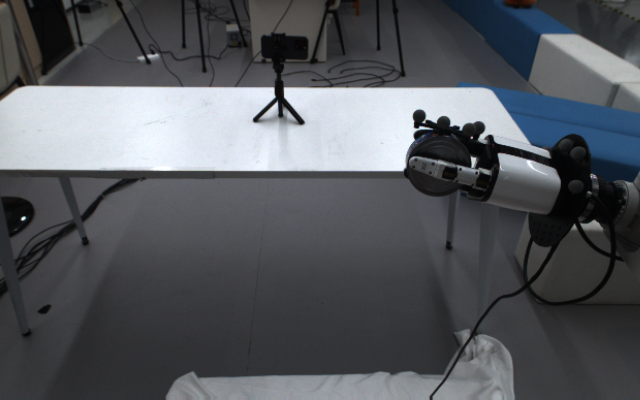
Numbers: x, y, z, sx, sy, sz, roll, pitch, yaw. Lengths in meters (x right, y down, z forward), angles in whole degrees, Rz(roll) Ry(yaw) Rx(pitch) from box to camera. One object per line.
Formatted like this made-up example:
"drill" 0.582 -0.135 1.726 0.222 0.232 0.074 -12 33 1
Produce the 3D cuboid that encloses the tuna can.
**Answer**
"tuna can" 0.162 -0.053 0.666 0.085 0.085 0.034 5 19 4
